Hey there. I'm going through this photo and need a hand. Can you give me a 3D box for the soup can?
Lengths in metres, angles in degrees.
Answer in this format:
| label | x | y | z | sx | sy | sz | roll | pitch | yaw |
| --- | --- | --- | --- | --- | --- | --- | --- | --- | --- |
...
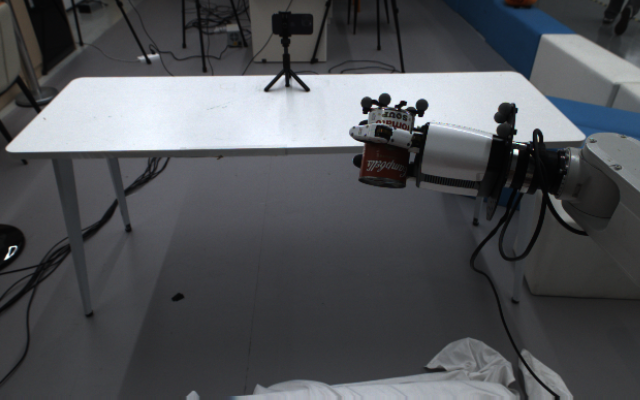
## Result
| label | x | y | z | sx | sy | sz | roll | pitch | yaw |
| --- | --- | --- | --- | --- | --- | --- | --- | --- | --- |
| soup can | 0.095 | -0.073 | 0.683 | 0.067 | 0.101 | 0.067 | 9 | -6 | 1 |
